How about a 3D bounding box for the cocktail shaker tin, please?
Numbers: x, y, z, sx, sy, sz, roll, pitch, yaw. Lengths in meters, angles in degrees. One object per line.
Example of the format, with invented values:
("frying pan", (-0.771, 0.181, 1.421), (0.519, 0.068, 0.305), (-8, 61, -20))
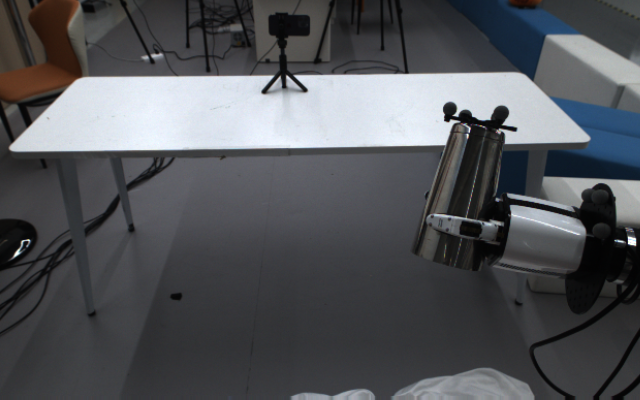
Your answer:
("cocktail shaker tin", (0.181, -0.006, 0.614), (0.093, 0.170, 0.093), (13, 4, -1))
